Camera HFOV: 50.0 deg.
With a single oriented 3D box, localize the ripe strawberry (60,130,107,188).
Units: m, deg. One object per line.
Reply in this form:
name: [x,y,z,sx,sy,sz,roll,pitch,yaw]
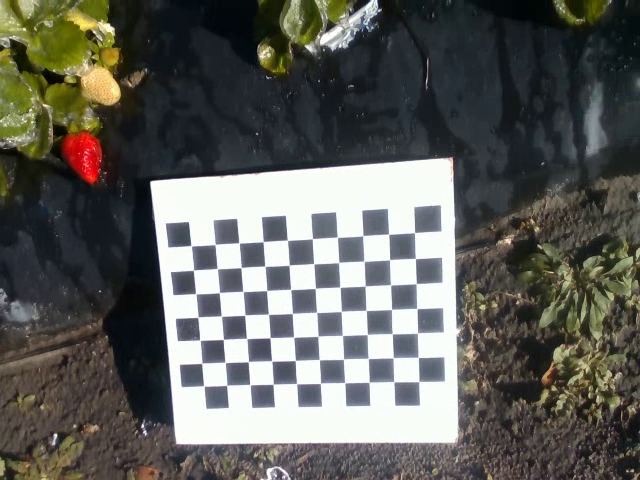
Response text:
ripe strawberry: [-0.236,-0.079,0.665,0.042,0.052,0.040,-21,-3,10]
